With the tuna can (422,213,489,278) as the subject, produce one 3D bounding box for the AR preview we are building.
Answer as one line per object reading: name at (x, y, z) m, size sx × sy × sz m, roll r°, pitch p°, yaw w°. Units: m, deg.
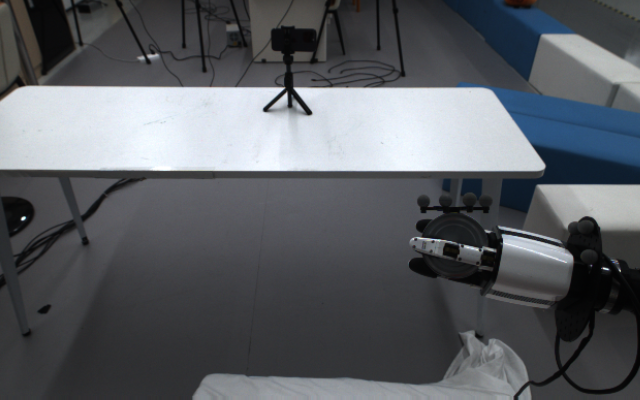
tuna can at (0.179, 0.058, 0.642) m, size 0.085 × 0.085 × 0.034 m, roll 16°, pitch 1°, yaw 19°
